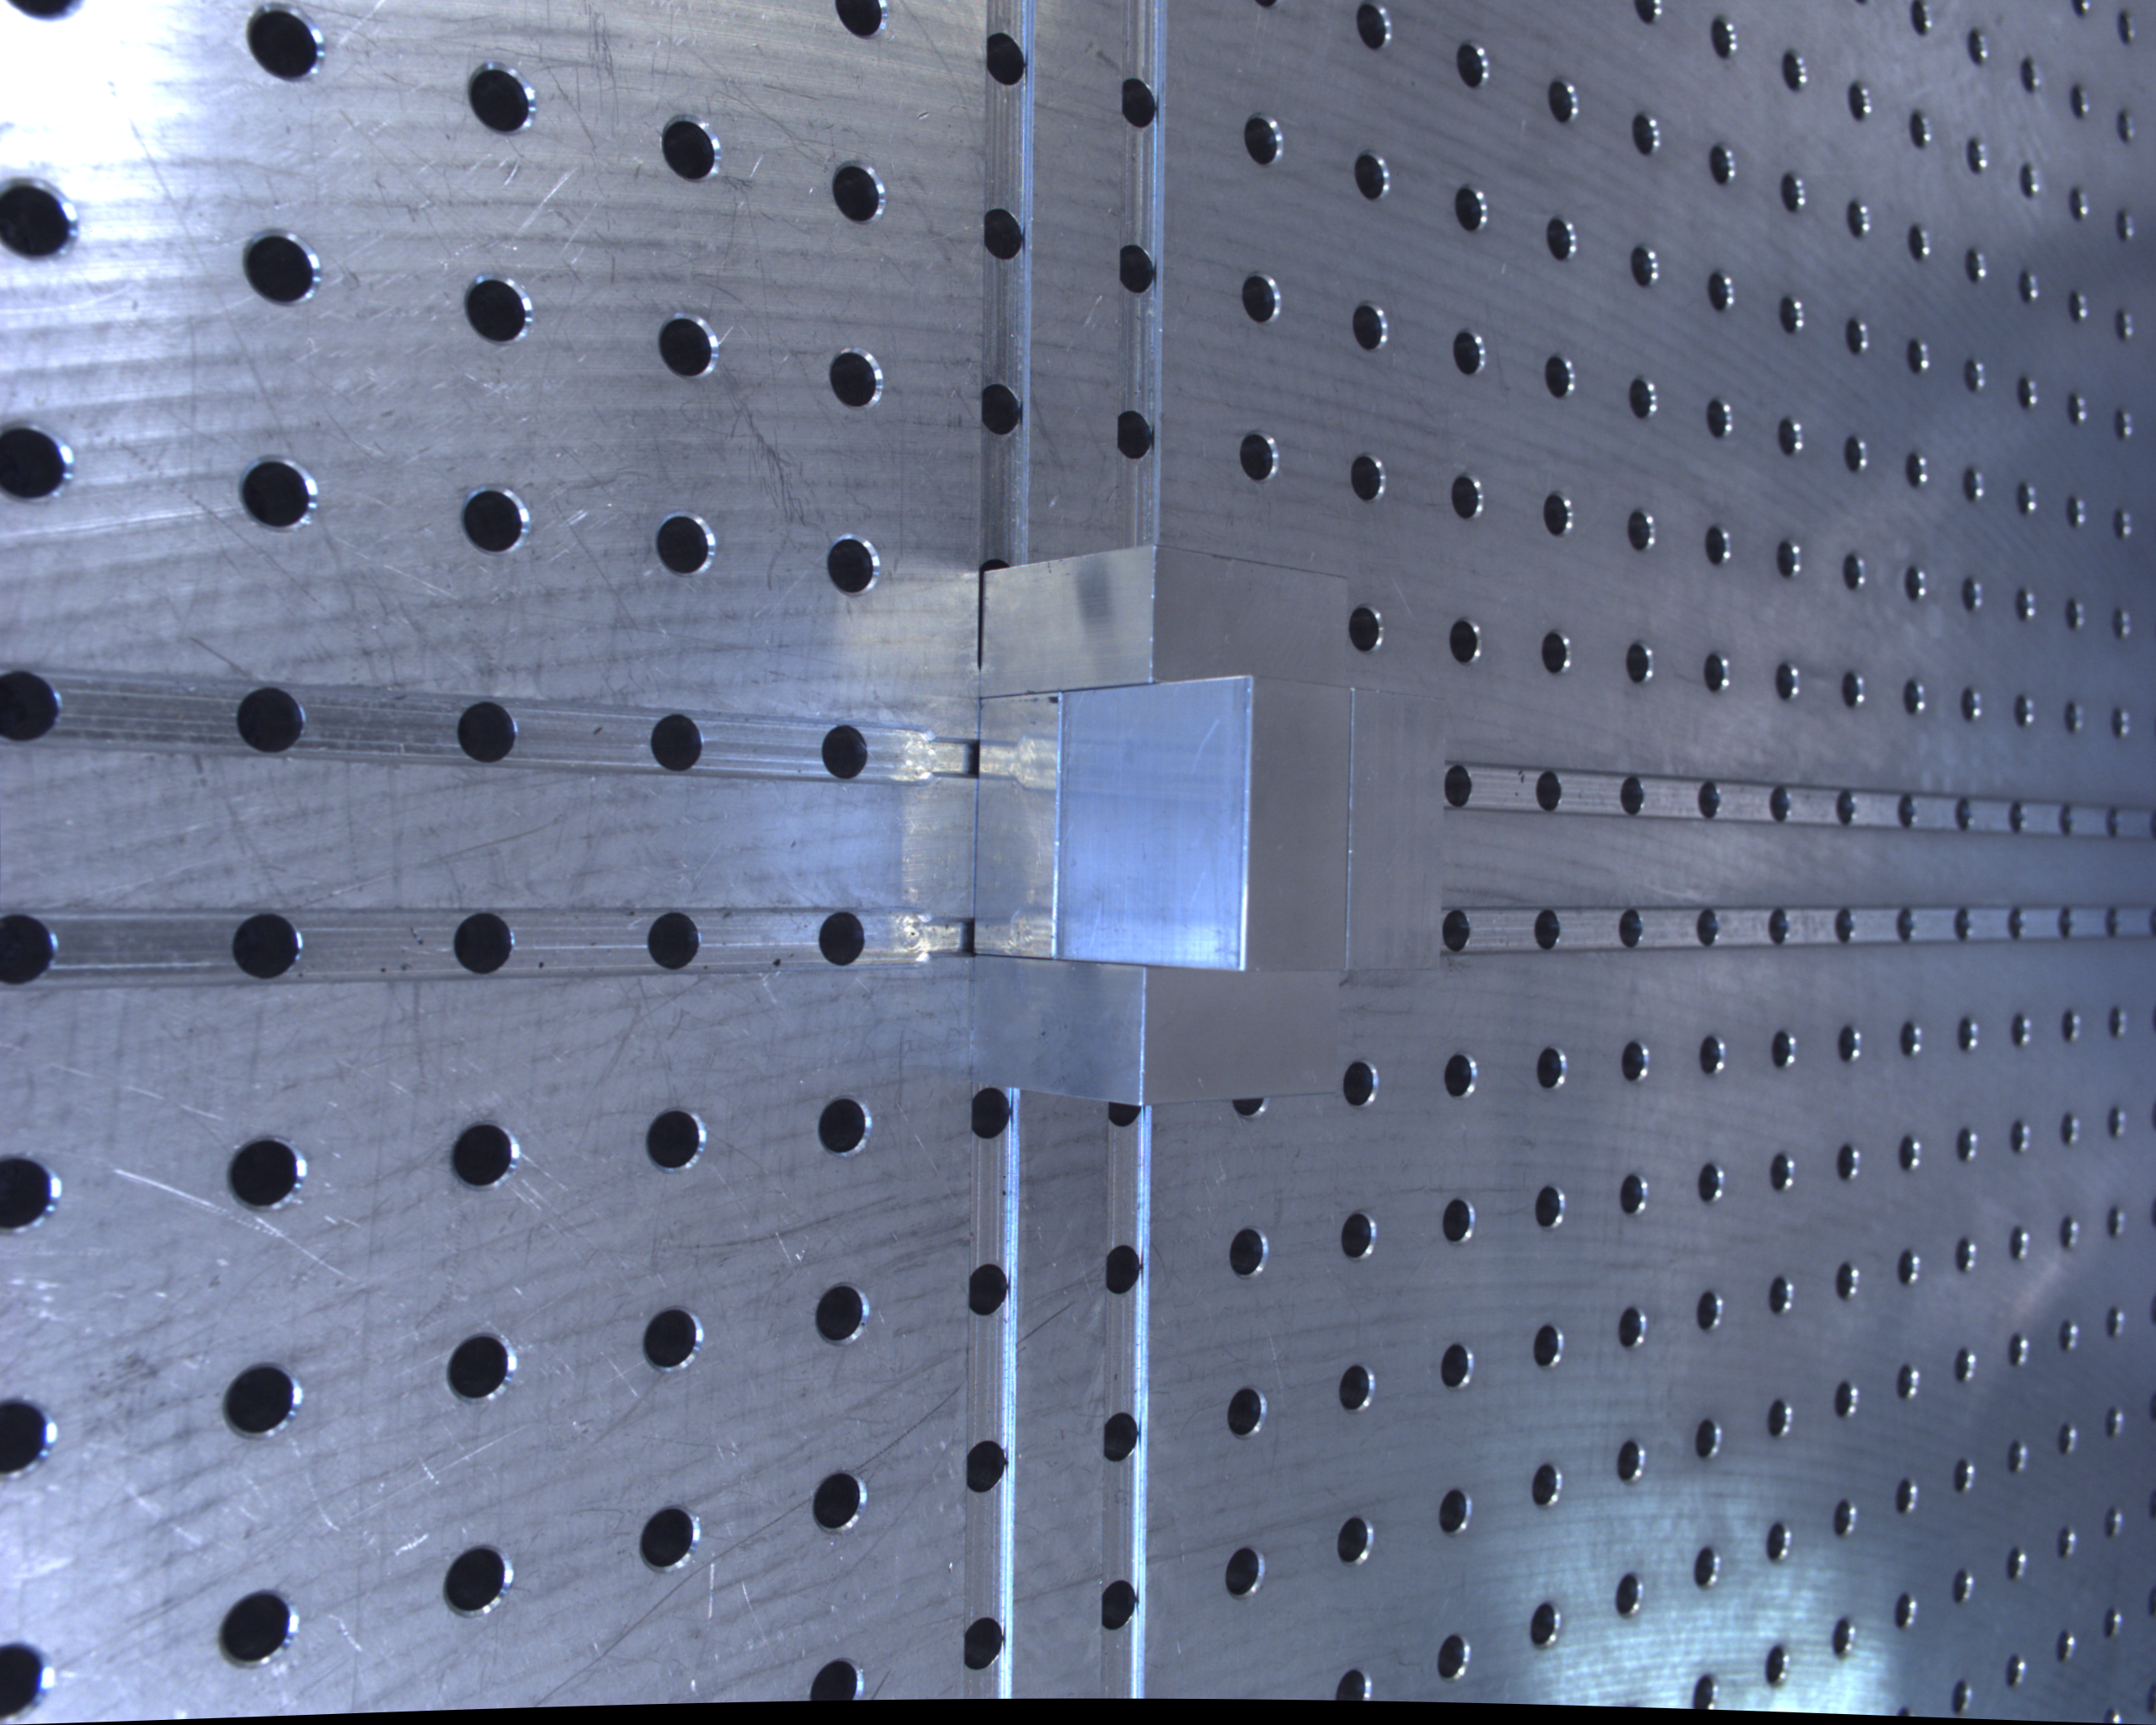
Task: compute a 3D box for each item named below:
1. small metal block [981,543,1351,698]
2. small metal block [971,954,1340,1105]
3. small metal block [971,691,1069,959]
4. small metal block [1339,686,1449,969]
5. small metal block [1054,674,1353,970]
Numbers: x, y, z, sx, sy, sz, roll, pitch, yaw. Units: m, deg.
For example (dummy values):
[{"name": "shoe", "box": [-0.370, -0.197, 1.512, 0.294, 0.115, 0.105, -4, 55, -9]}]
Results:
[{"name": "small metal block", "box": [0.017, -0.044, 0.405, 0.050, 0.050, 0.025, 2, 89, -40]}, {"name": "small metal block", "box": [0.015, 0.031, 0.404, 0.050, 0.050, 0.025, 2, 89, -40]}, {"name": "small metal block", "box": [0.007, -0.006, 0.414, 0.050, 0.025, 0.050, 2, 89, -38]}, {"name": "small metal block", "box": [0.042, -0.006, 0.394, 0.025, 0.050, 0.050, 2, 89, -39]}, {"name": "small metal block", "box": [0.022, -0.007, 0.377, 0.025, 0.050, 0.050, 2, 89, -40]}]
